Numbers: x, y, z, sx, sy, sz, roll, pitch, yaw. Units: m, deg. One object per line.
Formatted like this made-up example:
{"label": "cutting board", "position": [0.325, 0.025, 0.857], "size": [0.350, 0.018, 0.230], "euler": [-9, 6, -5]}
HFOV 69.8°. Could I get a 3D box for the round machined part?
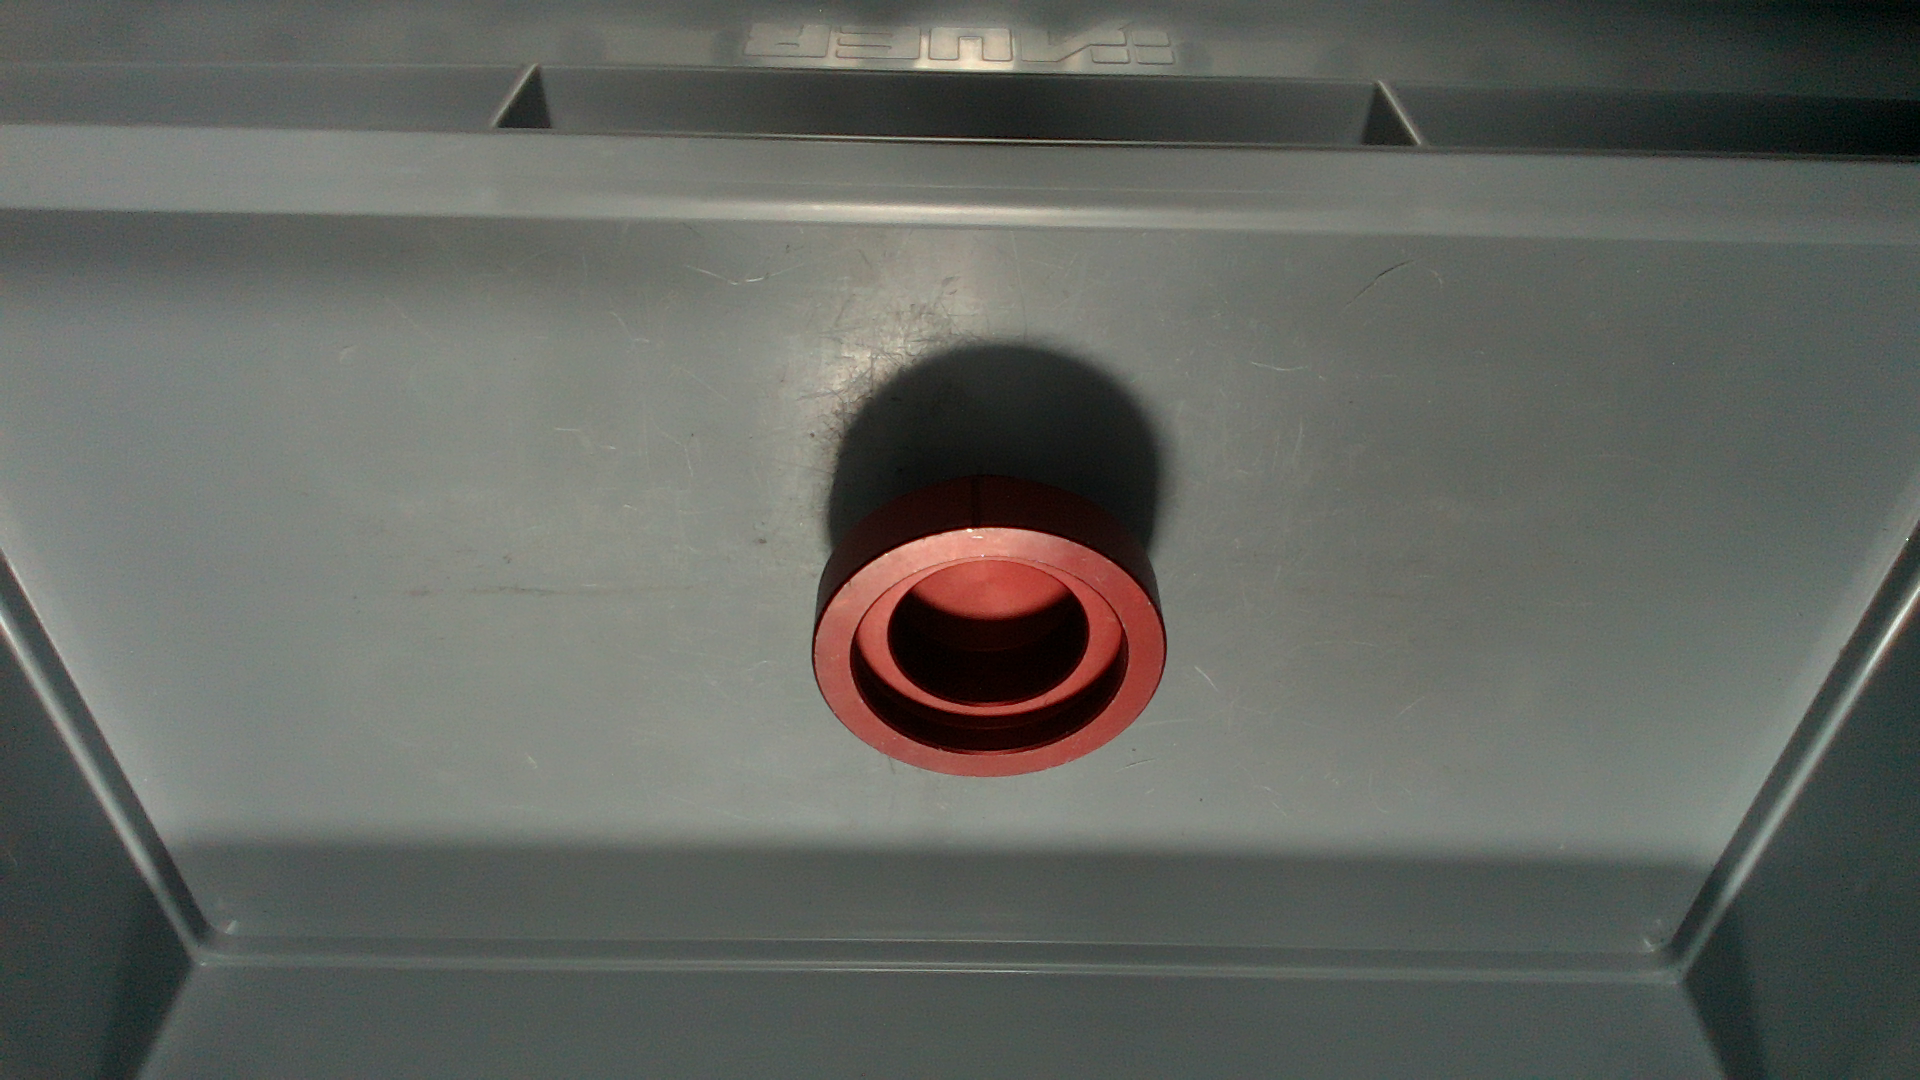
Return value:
{"label": "round machined part", "position": [0.008, 0.020, 0.392], "size": [0.098, 0.042, 0.098], "euler": [0, 130, 0]}
